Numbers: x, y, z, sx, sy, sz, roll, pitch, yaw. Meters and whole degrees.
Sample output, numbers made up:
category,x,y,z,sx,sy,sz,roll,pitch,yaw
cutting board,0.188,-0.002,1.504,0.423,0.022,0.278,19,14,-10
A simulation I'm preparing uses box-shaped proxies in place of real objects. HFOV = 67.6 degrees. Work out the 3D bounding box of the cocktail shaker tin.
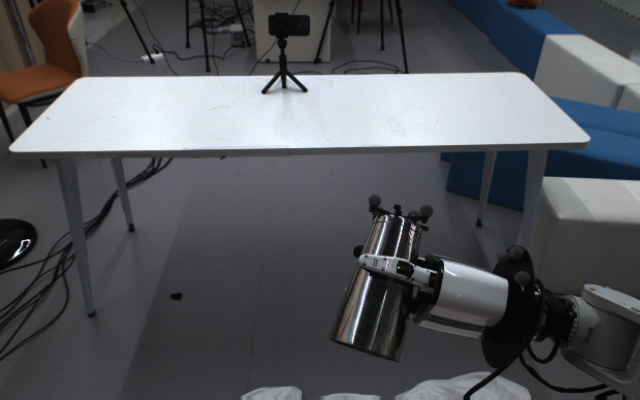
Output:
category,x,y,z,sx,sy,sz,roll,pitch,yaw
cocktail shaker tin,0.078,0.108,0.619,0.093,0.093,0.170,13,70,15
